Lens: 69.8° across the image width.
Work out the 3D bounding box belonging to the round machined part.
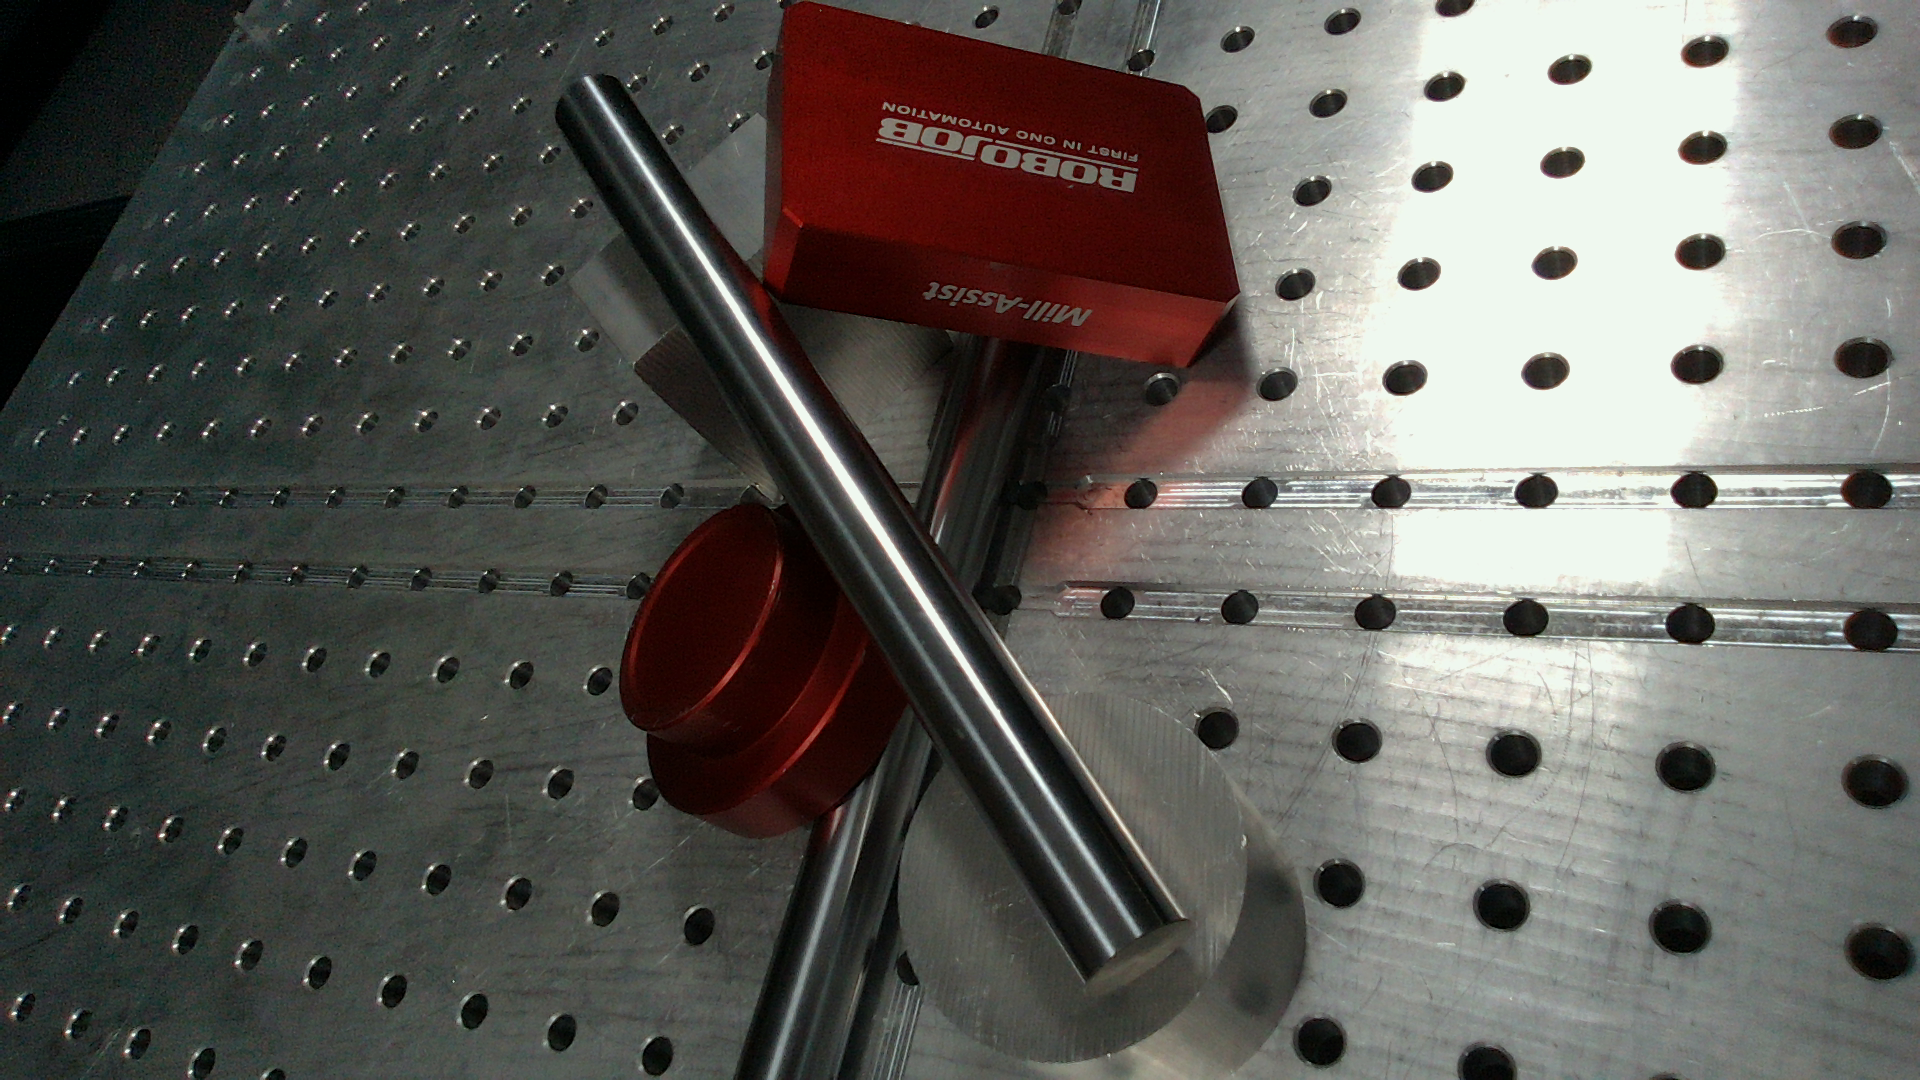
[{"bbox_3d":[-0.057,0.029,0.379,0.098,0.042,0.098,-28,44,32],"label":"round machined part"}]

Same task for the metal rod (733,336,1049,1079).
[{"bbox_3d":[-0.008,0.015,0.392,0.025,0.025,0.300,2,63,30],"label":"metal rod"}]

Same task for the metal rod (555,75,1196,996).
[{"bbox_3d":[-0.038,-0.025,0.341,0.025,0.025,0.299,-37,59,4],"label":"metal rod"}]

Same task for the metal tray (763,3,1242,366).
[{"bbox_3d":[0.011,-0.103,0.401,0.130,0.030,0.090,7,55,-16],"label":"metal tray"}]

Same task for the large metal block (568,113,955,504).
[{"bbox_3d":[-0.061,-0.072,0.440,0.080,0.080,0.050,-42,51,0],"label":"large metal block"}]

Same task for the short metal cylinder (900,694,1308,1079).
[{"bbox_3d":[0.033,0.082,0.313,0.080,0.050,0.080,-14,56,21],"label":"short metal cylinder"}]
